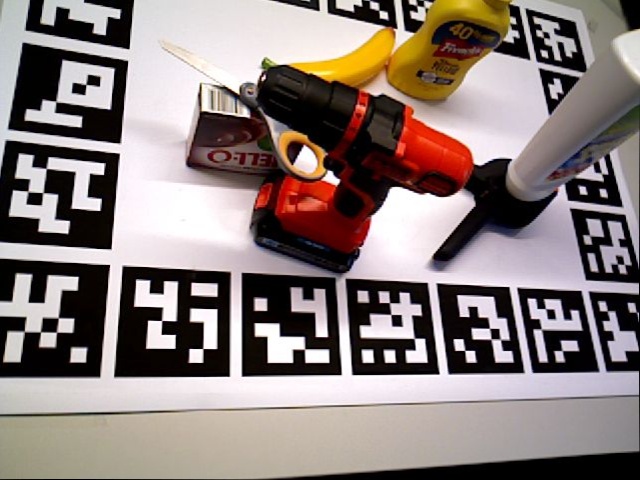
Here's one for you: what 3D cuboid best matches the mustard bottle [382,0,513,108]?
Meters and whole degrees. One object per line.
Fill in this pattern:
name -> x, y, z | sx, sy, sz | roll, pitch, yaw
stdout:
mustard bottle -> 0.155, -0.233, 0.621 | 0.095, 0.195, 0.057 | 18, 63, -15

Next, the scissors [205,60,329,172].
scissors -> -0.064, -0.137, 0.480 | 0.202, 0.016, 0.086 | 30, 67, -13

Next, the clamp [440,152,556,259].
clamp -> 0.212, -0.060, 0.645 | 0.200, 0.037, 0.164 | -2, 73, -23

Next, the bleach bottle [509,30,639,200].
bleach bottle -> 0.280, -0.111, 0.568 | 0.101, 0.256, 0.067 | -16, 72, -19

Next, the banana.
banana -> 0.031, -0.230, 0.648 | 0.074, 0.040, 0.193 | 42, 61, 18

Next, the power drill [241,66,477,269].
power drill -> 0.009, -0.051, 0.460 | 0.183, 0.191, 0.056 | 16, 58, -12

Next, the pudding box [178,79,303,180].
pudding box -> -0.078, -0.106, 0.537 | 0.112, 0.092, 0.038 | 9, 60, -18
